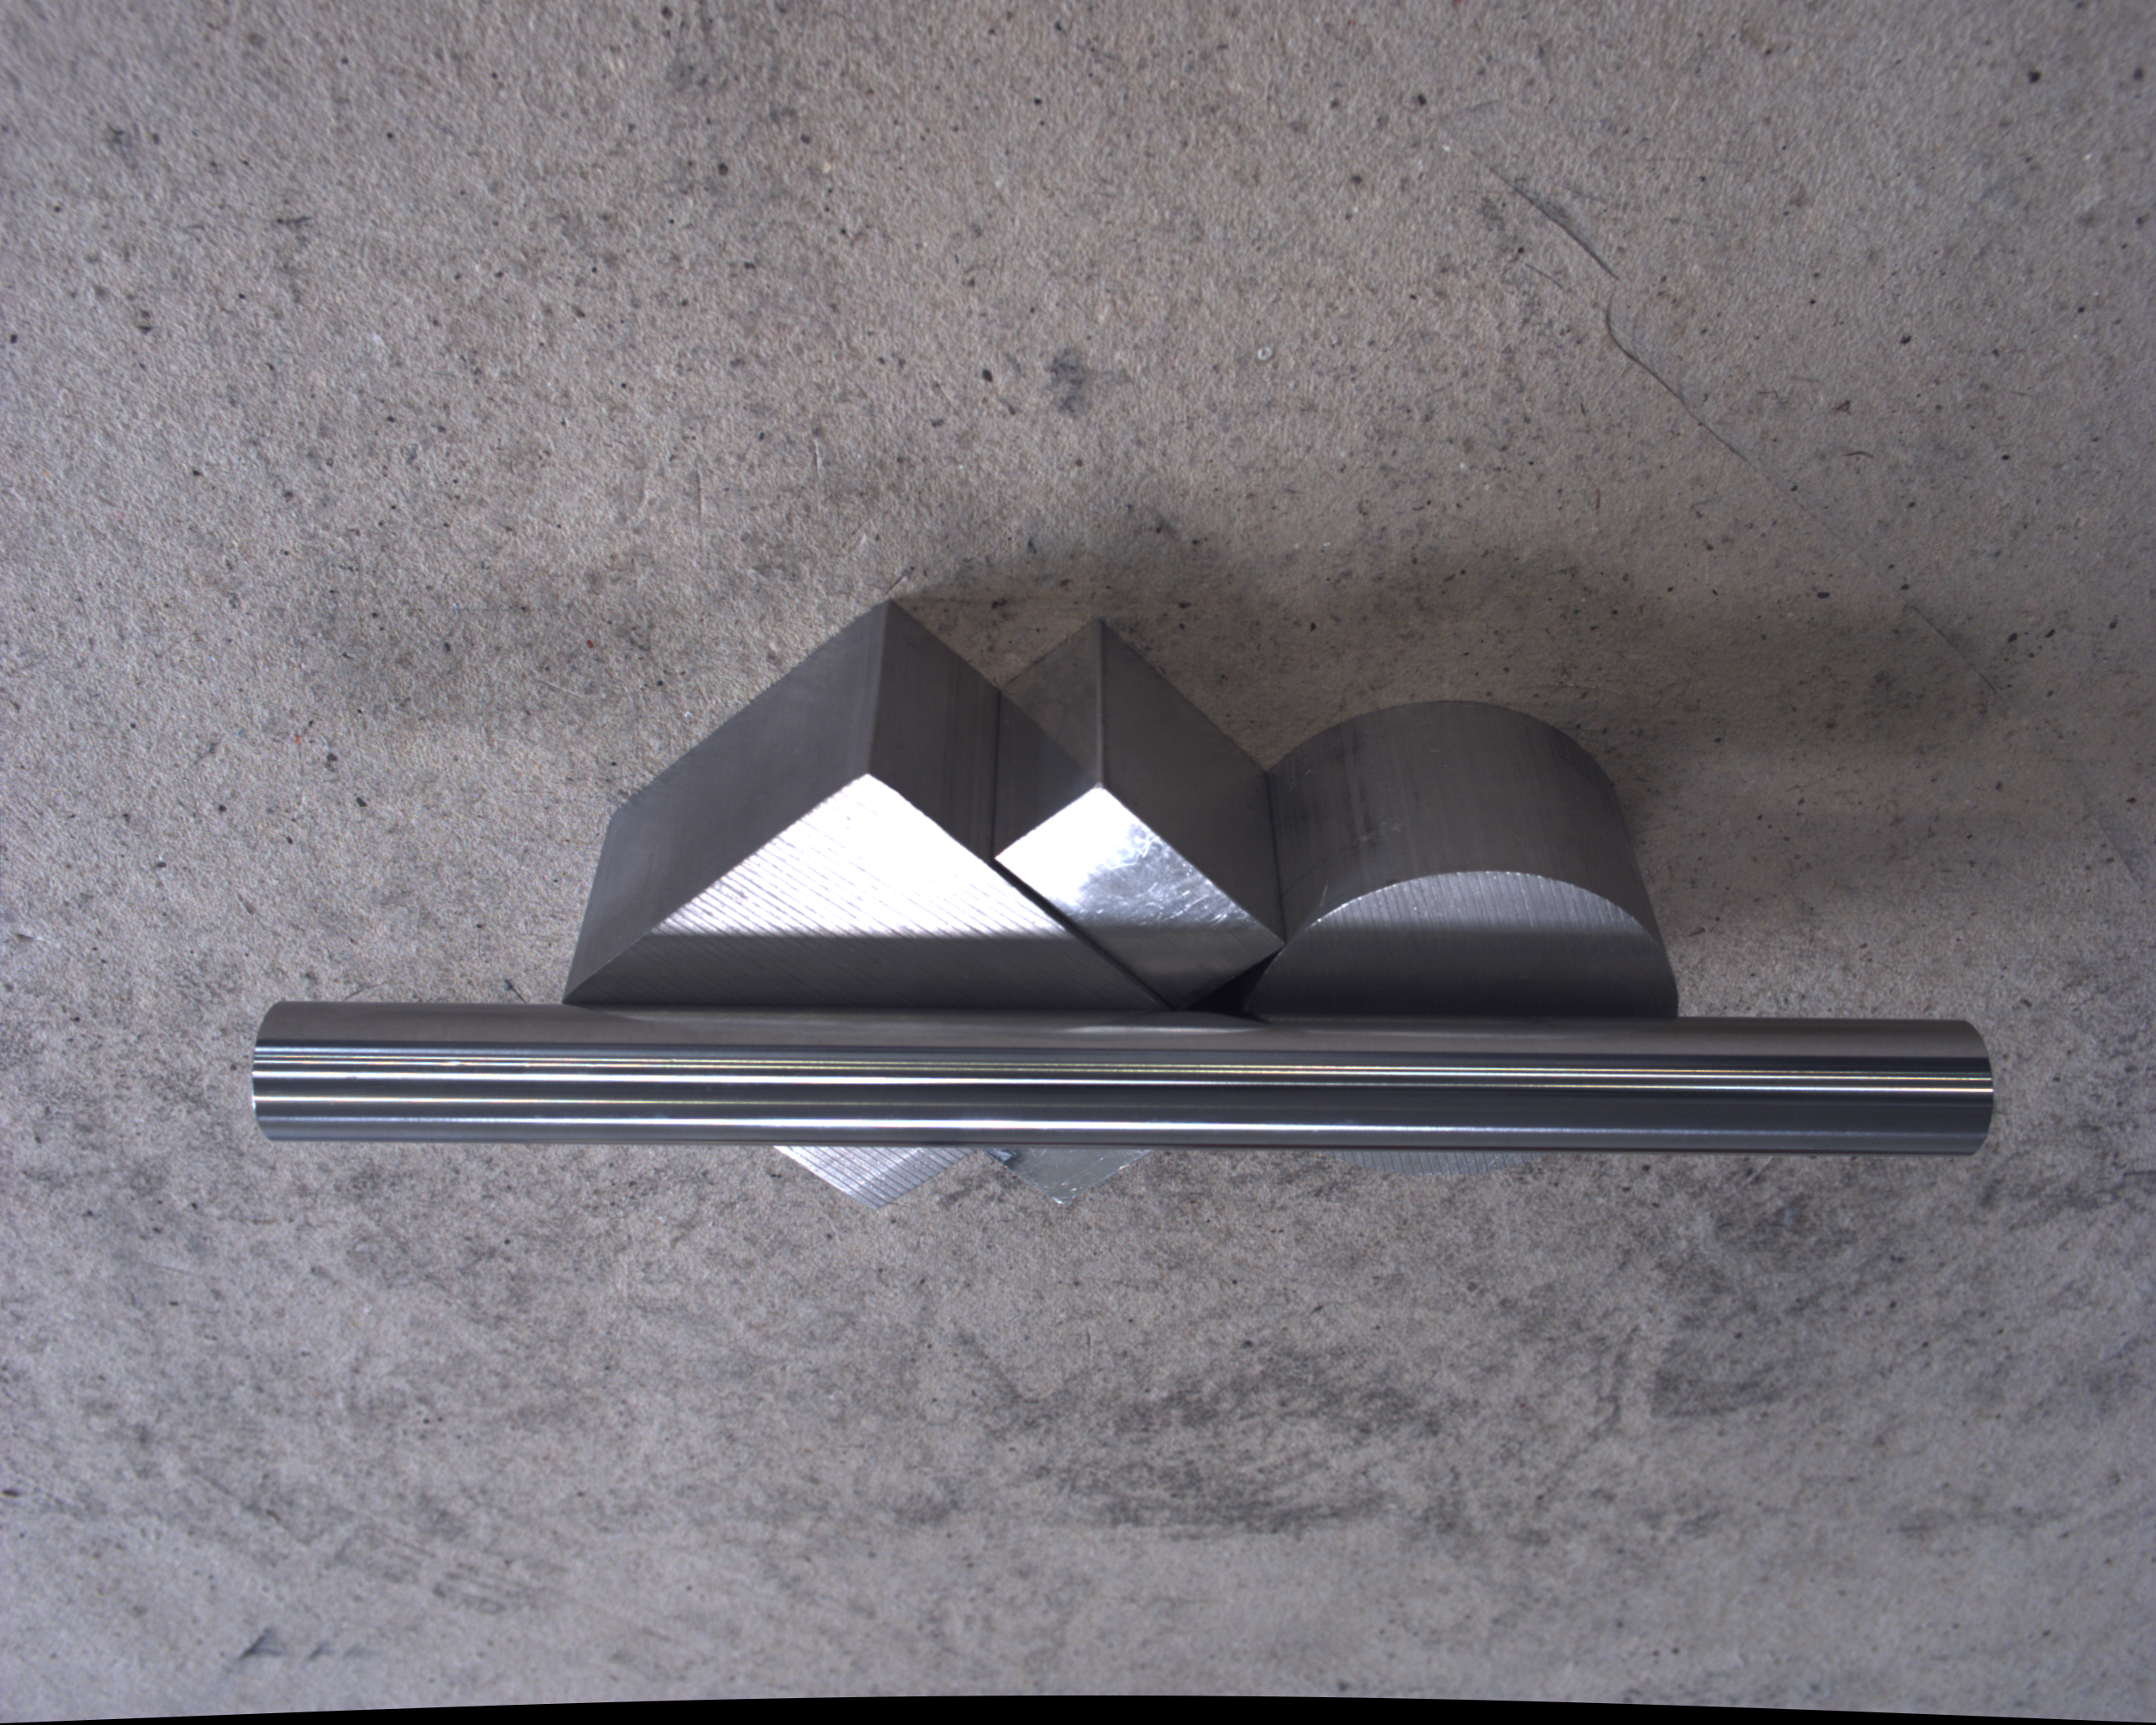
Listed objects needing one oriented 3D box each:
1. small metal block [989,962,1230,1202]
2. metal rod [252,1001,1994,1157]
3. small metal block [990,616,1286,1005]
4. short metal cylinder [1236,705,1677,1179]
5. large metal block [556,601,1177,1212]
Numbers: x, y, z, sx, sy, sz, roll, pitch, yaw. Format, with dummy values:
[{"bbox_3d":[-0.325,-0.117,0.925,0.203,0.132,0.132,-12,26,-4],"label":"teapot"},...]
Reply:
[{"bbox_3d":[0.006,0.032,0.421,0.050,0.050,0.025,-35,122,25],"label":"small metal block"},{"bbox_3d":[0.009,0.039,0.374,0.302,0.025,0.025,1,130,-1],"label":"metal rod"},{"bbox_3d":[0.011,-0.009,0.385,0.025,0.050,0.050,-35,122,26],"label":"small metal block"},{"bbox_3d":[0.070,0.016,0.406,0.081,0.050,0.079,0,130,0],"label":"short metal cylinder"},{"bbox_3d":[-0.038,0.011,0.399,0.080,0.050,0.080,-35,122,25],"label":"large metal block"}]
